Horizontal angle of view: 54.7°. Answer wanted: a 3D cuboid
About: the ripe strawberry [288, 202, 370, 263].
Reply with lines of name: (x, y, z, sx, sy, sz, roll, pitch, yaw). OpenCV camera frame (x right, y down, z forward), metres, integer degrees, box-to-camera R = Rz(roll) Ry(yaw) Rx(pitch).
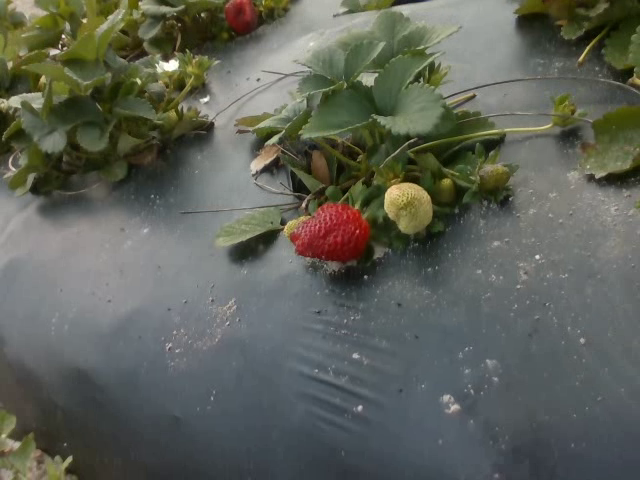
ripe strawberry: (0.004, 0.000, 0.381, 0.059, 0.046, 0.046, -18, 16, -42)
